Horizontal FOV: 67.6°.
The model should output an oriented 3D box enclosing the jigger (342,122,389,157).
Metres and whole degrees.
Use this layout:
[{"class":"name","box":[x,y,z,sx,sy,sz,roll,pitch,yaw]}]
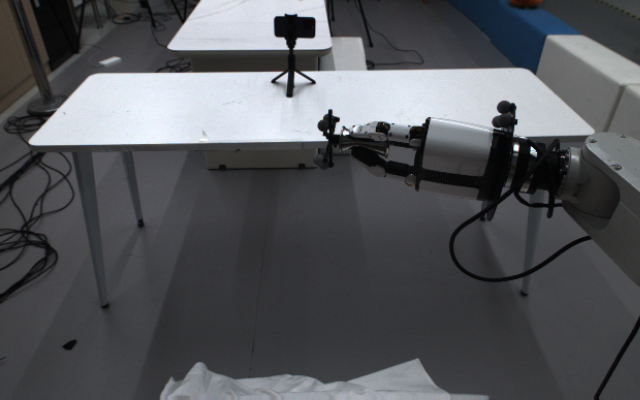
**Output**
[{"class":"jigger","box":[0.071,-0.089,0.700,0.071,0.043,0.043,5,35,12]}]
